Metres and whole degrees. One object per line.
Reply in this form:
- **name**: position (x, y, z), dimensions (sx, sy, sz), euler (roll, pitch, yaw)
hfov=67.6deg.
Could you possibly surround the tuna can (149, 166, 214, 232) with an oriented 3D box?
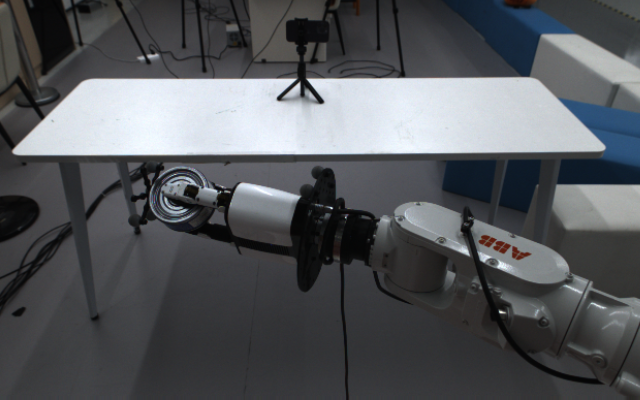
- **tuna can**: position (-0.183, 0.001, 0.652), dimensions (0.085, 0.034, 0.085), euler (-2, 70, 7)
